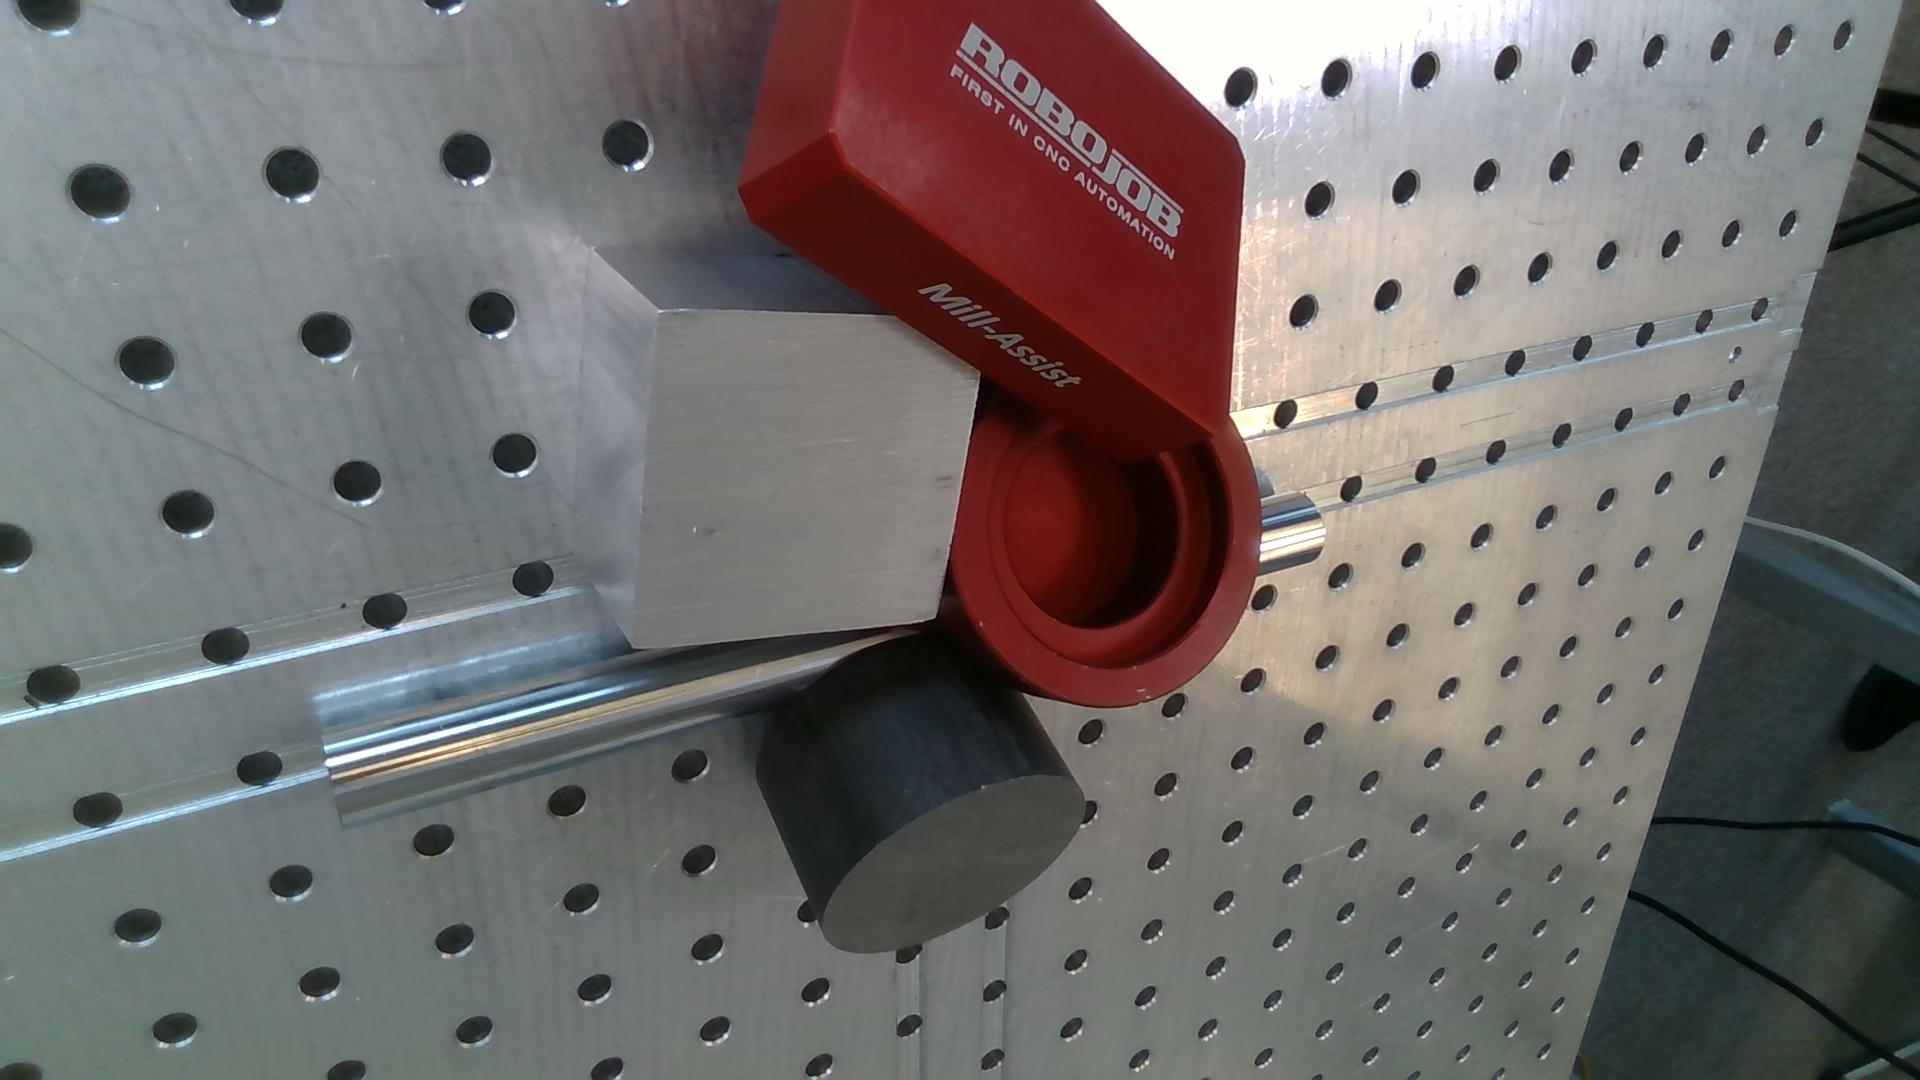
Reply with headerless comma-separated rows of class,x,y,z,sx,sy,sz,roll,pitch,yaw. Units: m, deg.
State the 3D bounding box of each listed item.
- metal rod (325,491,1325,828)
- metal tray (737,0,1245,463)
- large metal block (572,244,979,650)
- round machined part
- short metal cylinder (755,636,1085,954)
metal rod,-0.019,0.026,0.396,0.300,0.025,0.025,-13,121,-25
metal tray,0.016,-0.085,0.321,0.130,0.030,0.090,28,60,-38
large metal block,-0.046,-0.024,0.335,0.080,0.050,0.080,-4,117,-30
round machined part,0.033,-0.004,0.383,0.098,0.042,0.098,0,89,-26
short metal cylinder,-0.012,0.073,0.392,0.080,0.050,0.080,-21,144,-16
